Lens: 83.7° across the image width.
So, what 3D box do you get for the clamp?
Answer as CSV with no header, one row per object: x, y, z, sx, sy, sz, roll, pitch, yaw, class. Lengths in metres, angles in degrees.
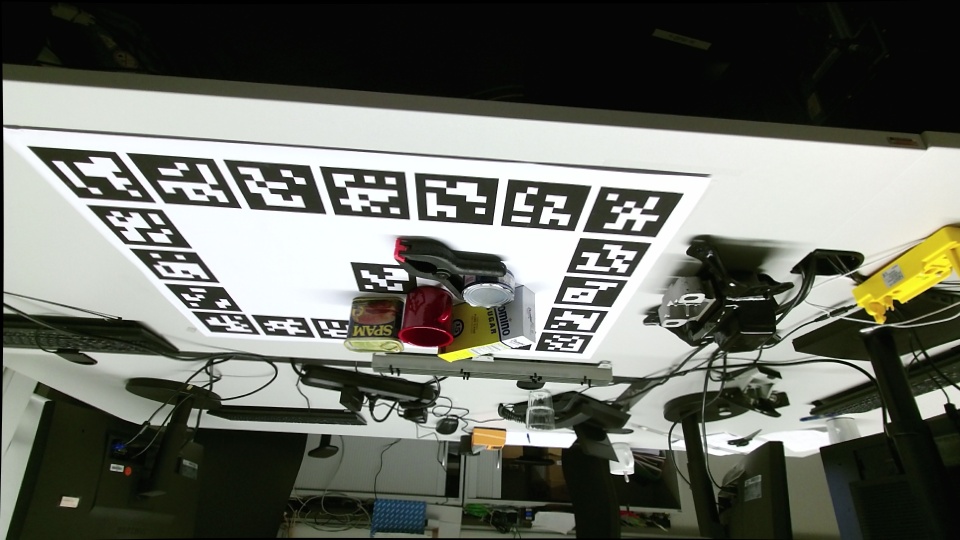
-0.060,-0.004,0.813,0.166,0.036,0.122,28,144,-27,clamp

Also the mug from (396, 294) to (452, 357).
-0.085,0.089,0.904,0.094,0.081,0.117,18,143,-22,mug

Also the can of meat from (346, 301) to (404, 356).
-0.188,0.103,0.949,0.102,0.083,0.058,0,149,7,can of meat

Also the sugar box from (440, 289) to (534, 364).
0.007,0.100,0.920,0.177,0.092,0.045,-18,144,31,sugar box

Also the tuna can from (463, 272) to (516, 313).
0.015,0.034,0.859,0.086,0.033,0.086,2,146,1,tuna can
